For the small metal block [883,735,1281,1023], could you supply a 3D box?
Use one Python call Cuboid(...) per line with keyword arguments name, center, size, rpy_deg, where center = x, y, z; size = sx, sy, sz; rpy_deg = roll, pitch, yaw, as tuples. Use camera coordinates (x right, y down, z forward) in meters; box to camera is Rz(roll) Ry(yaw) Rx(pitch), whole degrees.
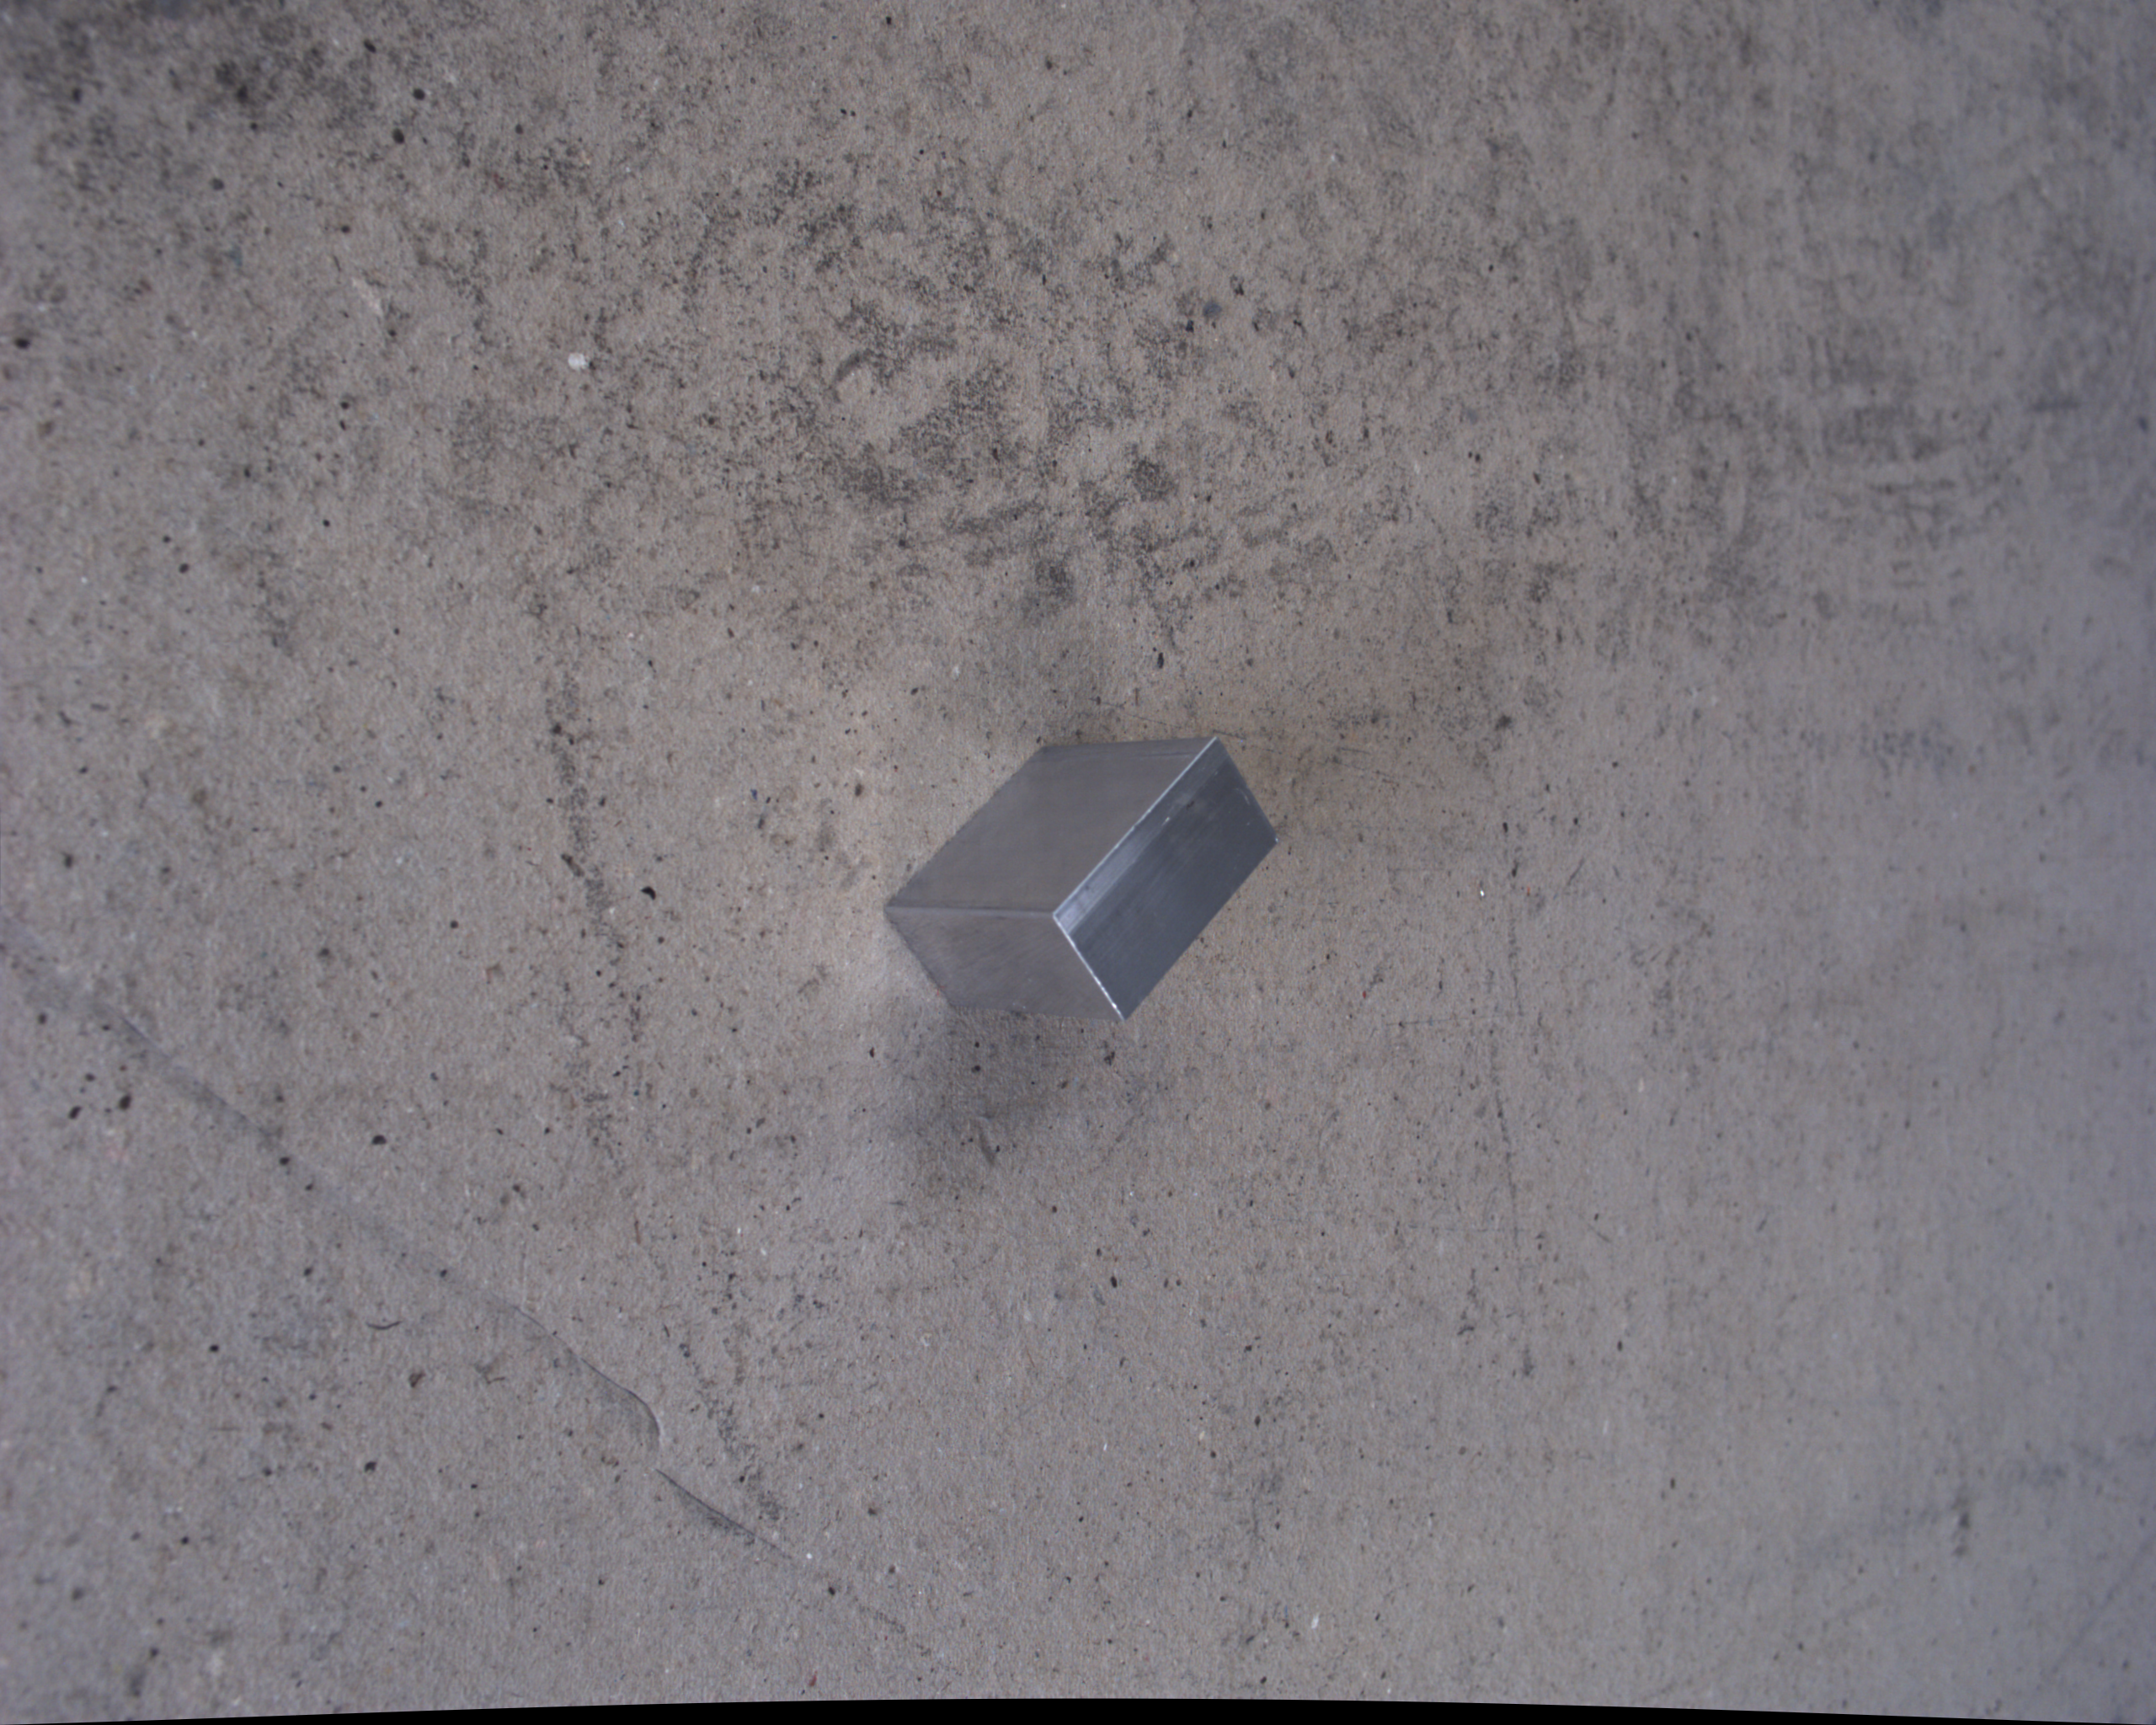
Cuboid(name="small metal block", center=(0.001, 0.002, 0.390), size=(0.050, 0.050, 0.025), rpy_deg=(-48, 119, -30))
